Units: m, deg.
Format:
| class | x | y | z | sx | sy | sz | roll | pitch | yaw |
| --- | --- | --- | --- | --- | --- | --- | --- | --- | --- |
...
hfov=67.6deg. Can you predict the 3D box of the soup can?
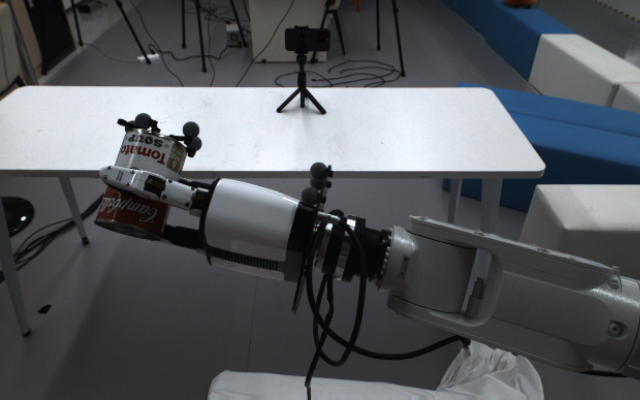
| class | x | y | z | sx | sy | sz | roll | pitch | yaw |
| --- | --- | --- | --- | --- | --- | --- | --- | --- | --- |
| soup can | -0.185 | -0.014 | 0.510 | 0.067 | 0.067 | 0.101 | 9 | 74 | 9 |
